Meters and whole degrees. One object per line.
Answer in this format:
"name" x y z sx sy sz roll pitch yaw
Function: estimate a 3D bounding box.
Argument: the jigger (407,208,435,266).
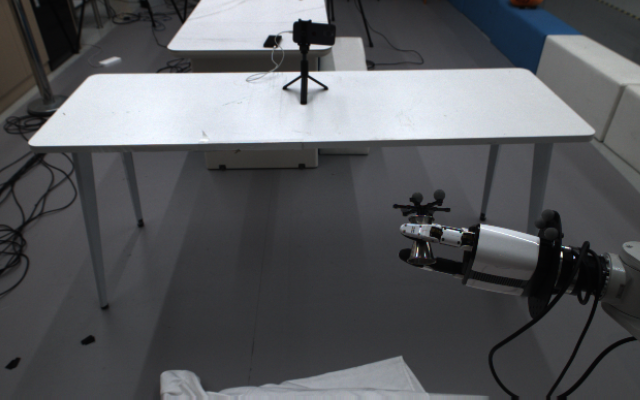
"jigger" 0.154 0.059 0.743 0.043 0.043 0.071 3 71 2
